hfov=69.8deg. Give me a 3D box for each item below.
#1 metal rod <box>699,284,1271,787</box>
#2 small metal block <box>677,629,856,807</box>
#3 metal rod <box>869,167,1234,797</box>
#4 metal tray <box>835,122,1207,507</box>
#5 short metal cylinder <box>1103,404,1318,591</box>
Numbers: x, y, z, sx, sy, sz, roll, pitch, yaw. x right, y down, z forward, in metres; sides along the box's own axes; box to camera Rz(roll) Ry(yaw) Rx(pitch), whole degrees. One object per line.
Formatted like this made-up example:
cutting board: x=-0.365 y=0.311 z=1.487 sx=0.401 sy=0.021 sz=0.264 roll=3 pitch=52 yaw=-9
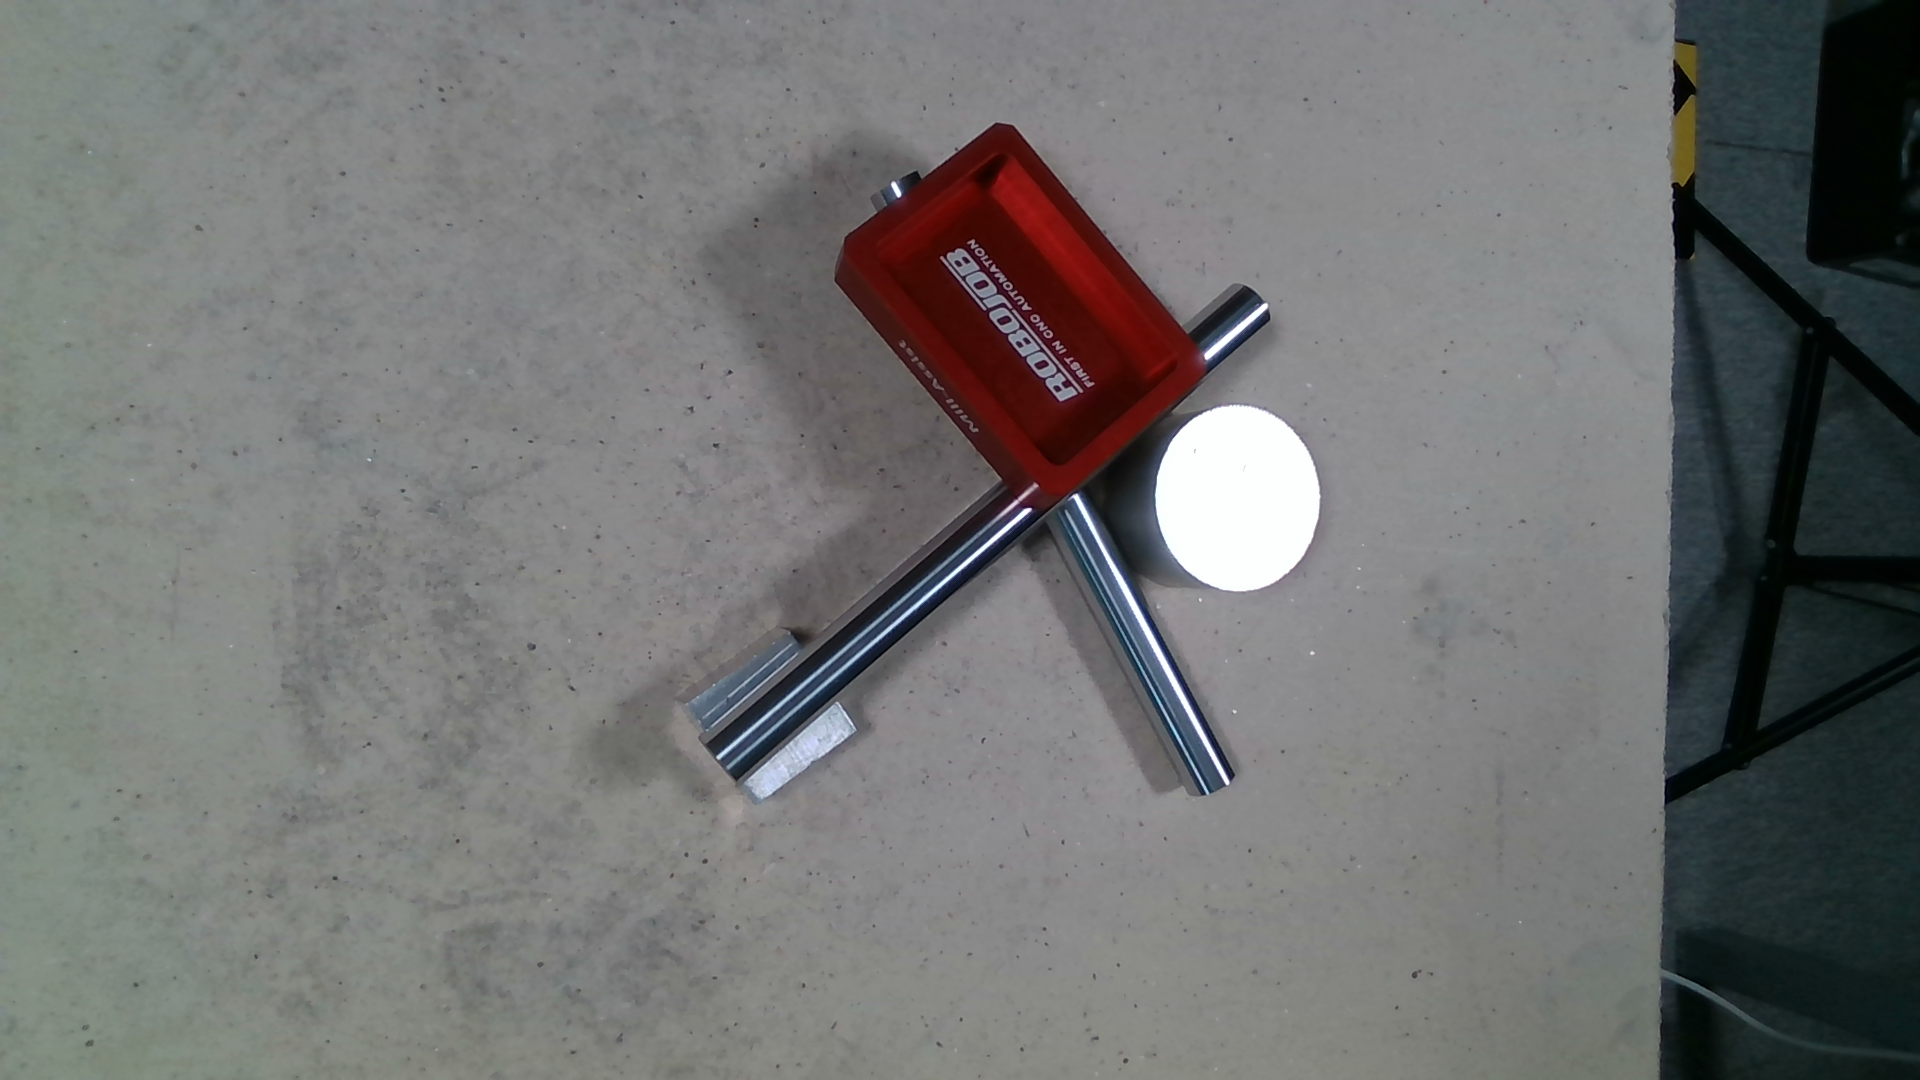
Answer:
metal rod: x=0.018 y=-0.009 z=0.566 sx=0.300 sy=0.025 sz=0.025 roll=-41 pitch=103 yaw=-16
small metal block: x=-0.079 y=0.071 z=0.557 sx=0.050 sy=0.025 sz=0.050 roll=-35 pitch=102 yaw=-17
metal rod: x=0.043 y=-0.020 z=0.602 sx=0.025 sy=0.025 sz=0.300 roll=-32 pitch=101 yaw=-17
metal tray: x=0.024 y=-0.089 z=0.551 sx=0.090 sy=0.030 sz=0.130 roll=-41 pitch=92 yaw=-16
short metal cylinder: x=0.111 y=-0.018 z=0.613 sx=0.080 sy=0.050 sz=0.080 roll=0 pitch=90 yaw=-20
